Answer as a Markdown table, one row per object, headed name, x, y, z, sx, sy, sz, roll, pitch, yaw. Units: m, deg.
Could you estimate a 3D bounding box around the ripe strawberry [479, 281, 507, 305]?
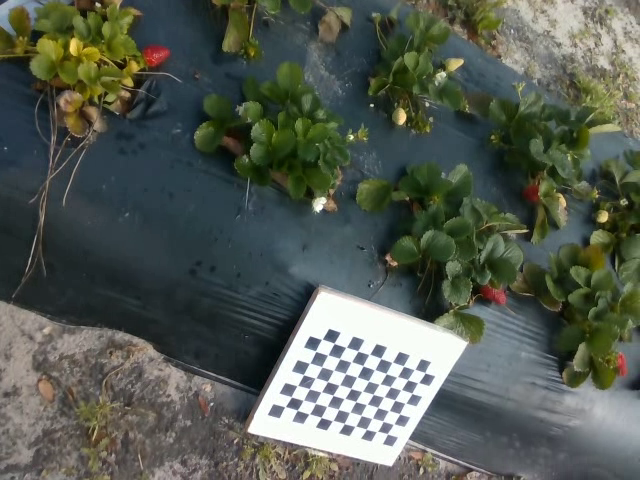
| name | x | y | z | sx | sy | sz | roll | pitch | yaw |
| --- | --- | --- | --- | --- | --- | --- | --- | --- | --- |
| ripe strawberry | 0.302 | 0.093 | 0.962 | 0.050 | 0.064 | 0.043 | -34 | 25 | 0 |
